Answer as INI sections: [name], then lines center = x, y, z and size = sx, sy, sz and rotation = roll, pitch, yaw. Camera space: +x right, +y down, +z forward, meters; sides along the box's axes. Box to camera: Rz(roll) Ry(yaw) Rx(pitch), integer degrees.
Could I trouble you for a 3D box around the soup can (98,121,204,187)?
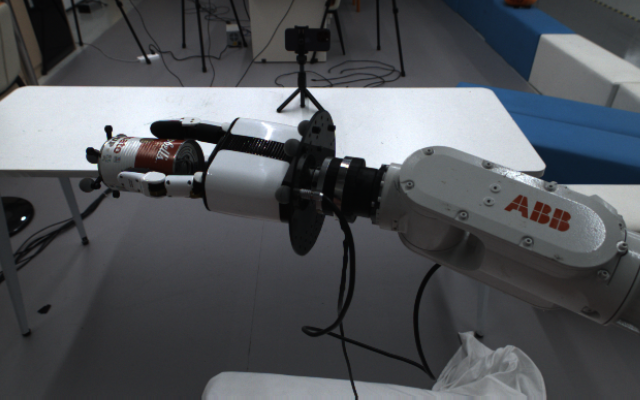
[soup can]
center = -0.196, -0.039, 0.573
size = 0.101, 0.067, 0.067
rotation = 5, 34, 14
